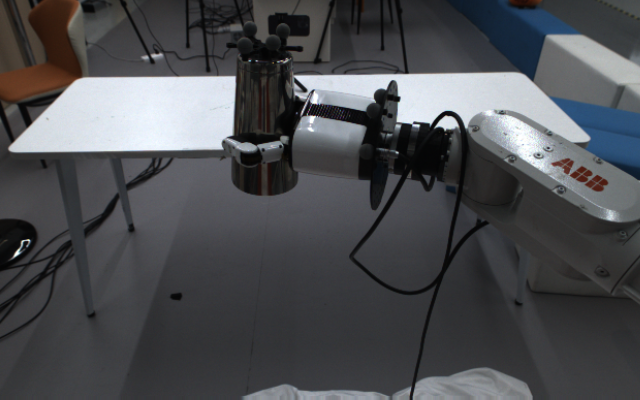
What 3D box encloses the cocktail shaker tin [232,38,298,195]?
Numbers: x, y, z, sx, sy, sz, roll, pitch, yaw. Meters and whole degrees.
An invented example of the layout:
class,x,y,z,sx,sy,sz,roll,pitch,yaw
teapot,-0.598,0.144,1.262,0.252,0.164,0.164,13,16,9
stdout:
class,x,y,z,sx,sy,sz,roll,pitch,yaw
cocktail shaker tin,-0.068,-0.102,0.617,0.093,0.170,0.093,3,34,-2
